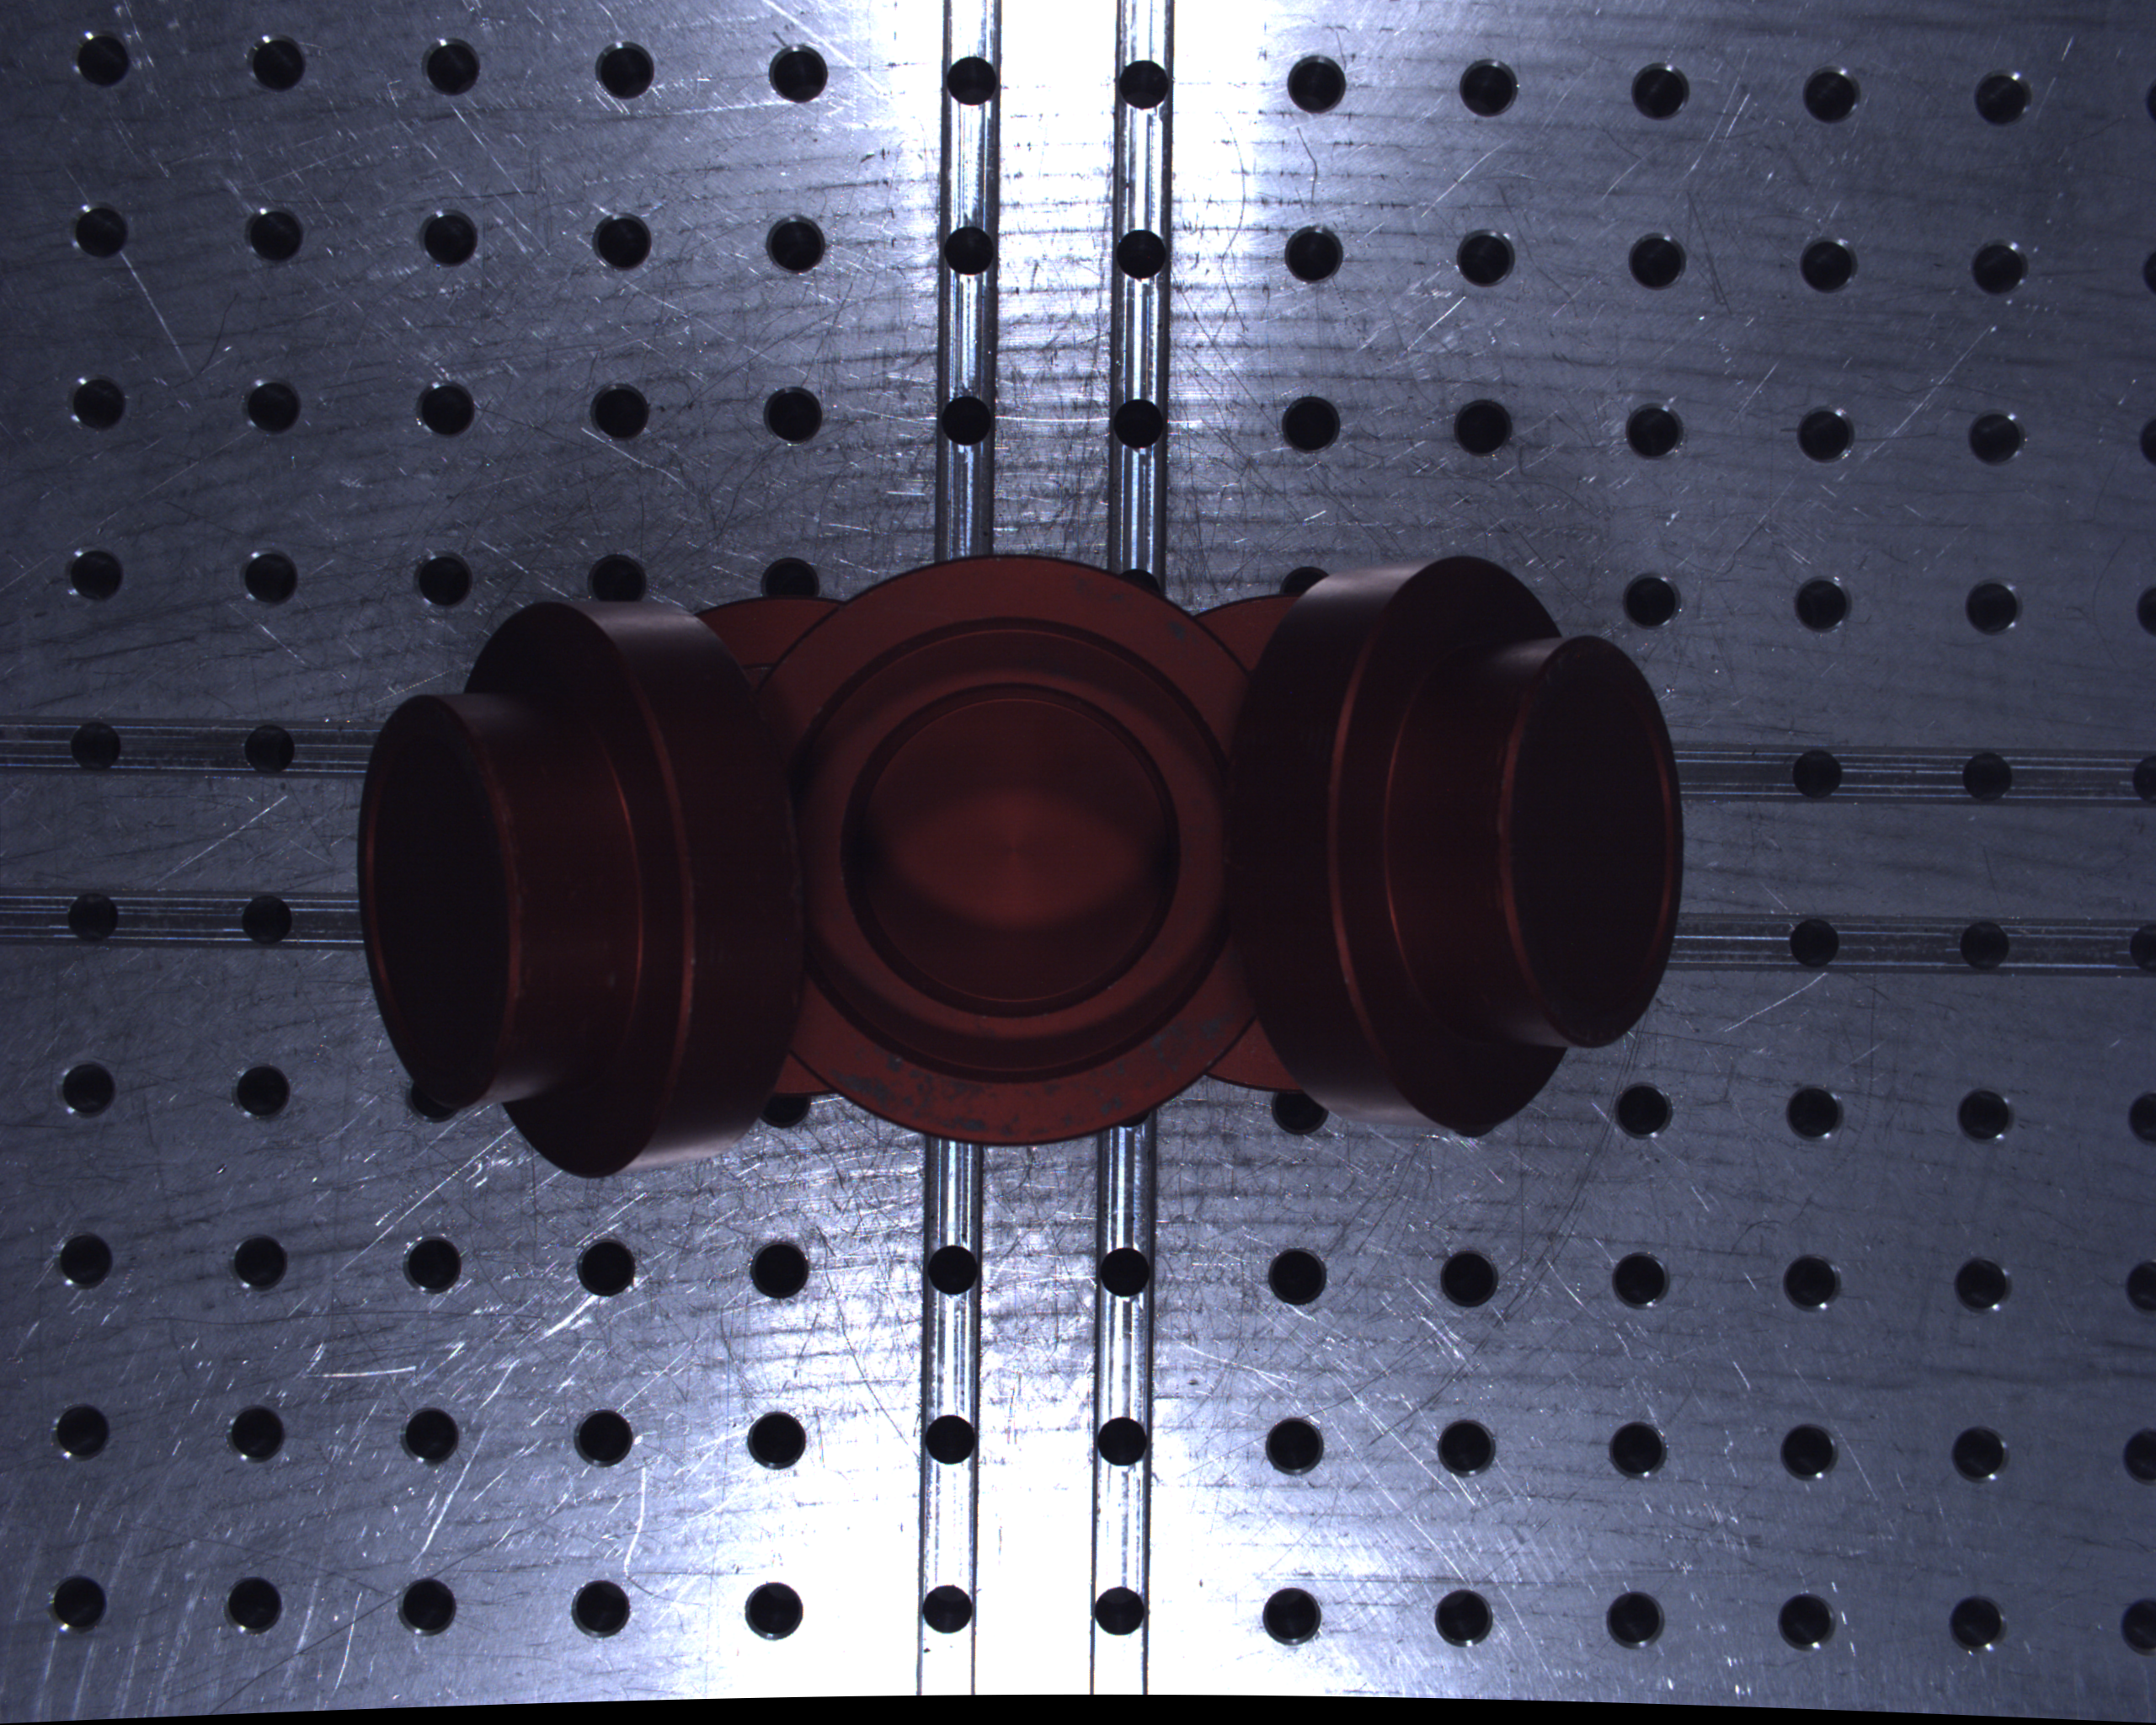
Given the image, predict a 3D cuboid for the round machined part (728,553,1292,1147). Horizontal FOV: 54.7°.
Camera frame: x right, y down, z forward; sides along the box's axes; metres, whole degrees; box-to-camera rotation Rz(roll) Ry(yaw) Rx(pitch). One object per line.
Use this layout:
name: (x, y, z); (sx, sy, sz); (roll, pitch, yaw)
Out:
round machined part: (-0.011, -0.002, 0.362); (0.099, 0.042, 0.097); (0, 90, -1)

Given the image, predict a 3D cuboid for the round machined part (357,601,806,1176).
round machined part: (-0.089, 0.005, 0.353); (0.042, 0.098, 0.097); (-6, 90, -38)

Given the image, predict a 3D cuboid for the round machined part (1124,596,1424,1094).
round machined part: (0.043, -0.003, 0.405); (0.099, 0.042, 0.097); (0, 90, -1)

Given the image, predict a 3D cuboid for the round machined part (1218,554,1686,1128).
round machined part: (0.069, -0.004, 0.355); (0.042, 0.099, 0.097); (0, 90, 40)

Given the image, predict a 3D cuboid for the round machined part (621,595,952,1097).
round machined part: (-0.055, -0.003, 0.404); (0.099, 0.042, 0.097); (0, 90, -1)
